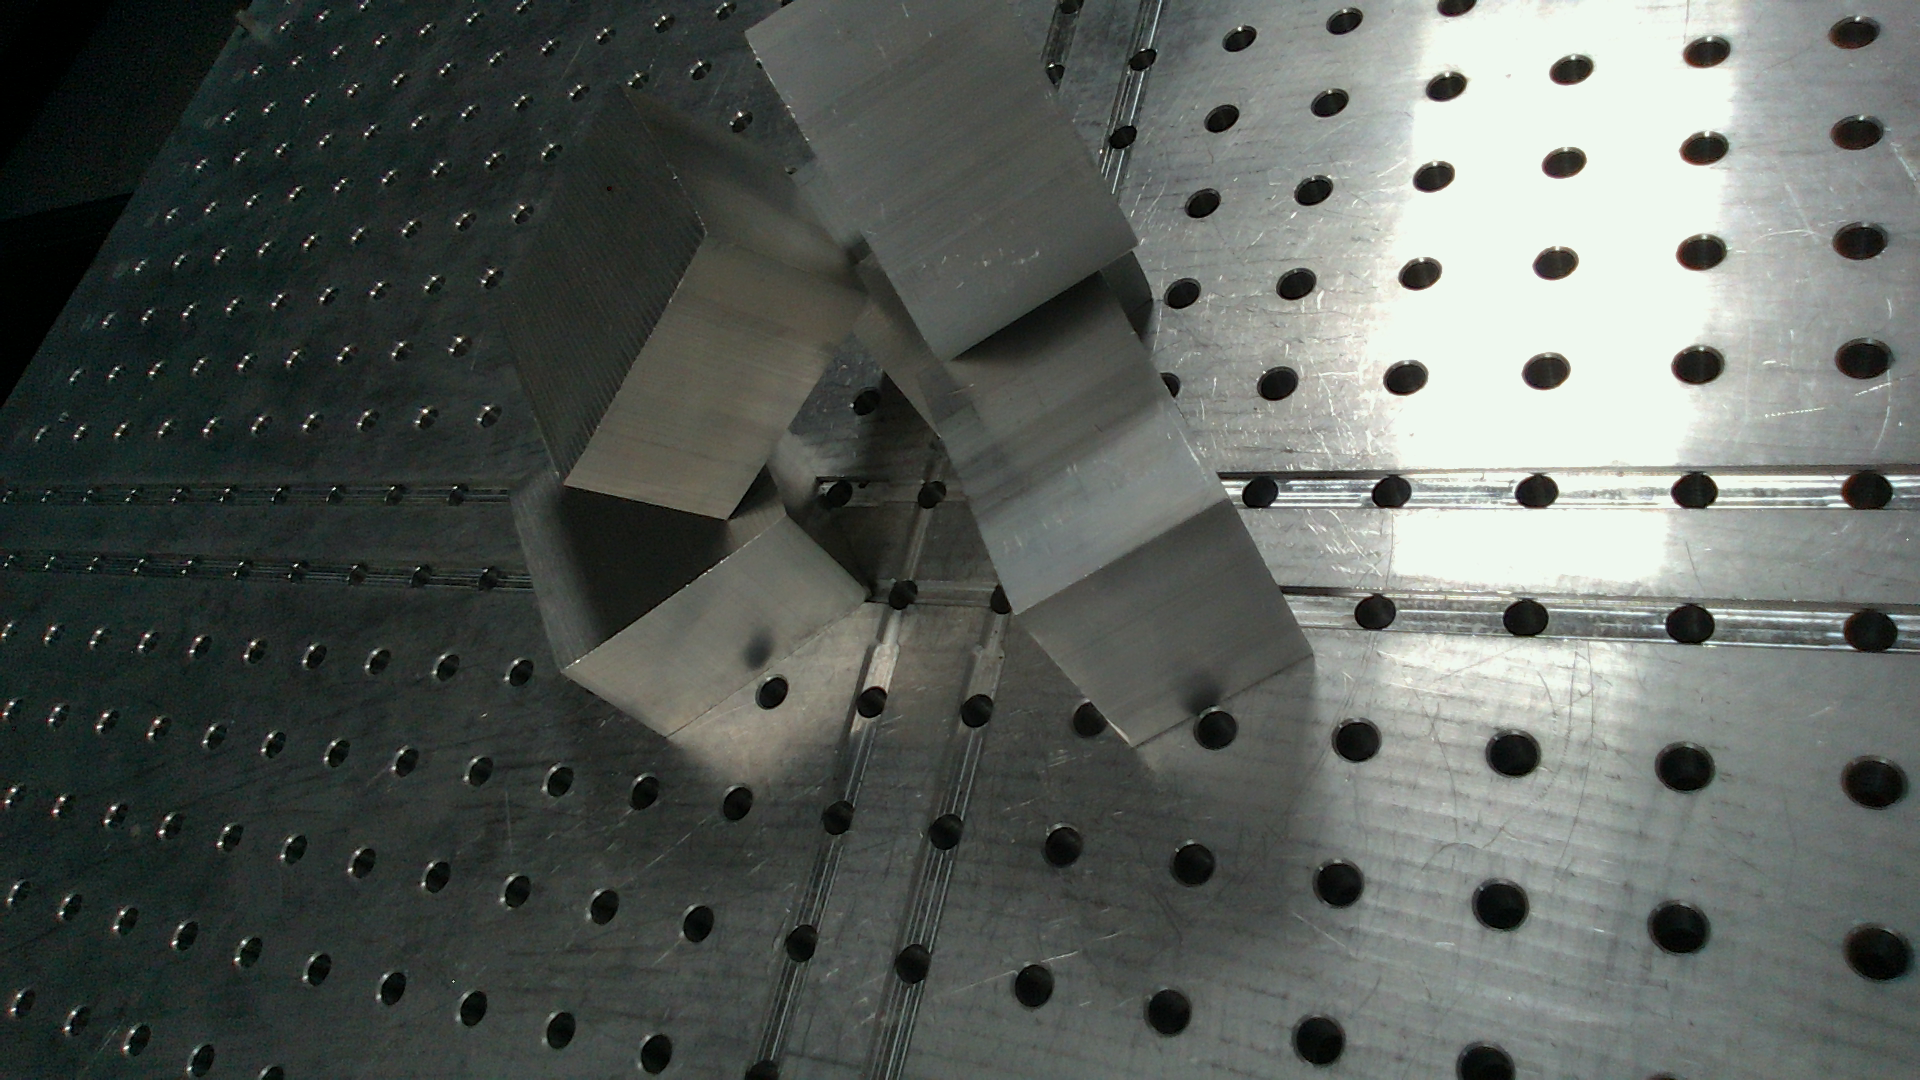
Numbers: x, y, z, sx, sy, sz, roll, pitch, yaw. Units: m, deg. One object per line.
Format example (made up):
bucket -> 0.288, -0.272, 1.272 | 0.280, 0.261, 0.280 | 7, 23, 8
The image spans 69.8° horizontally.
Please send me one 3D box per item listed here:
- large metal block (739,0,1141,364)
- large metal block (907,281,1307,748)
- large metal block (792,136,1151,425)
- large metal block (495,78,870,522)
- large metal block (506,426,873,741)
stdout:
large metal block -> -0.005, -0.091, 0.328 | 0.050, 0.080, 0.080 | -31, 9, 3
large metal block -> 0.037, -0.007, 0.344 | 0.050, 0.080, 0.080 | -30, 52, 9
large metal block -> 0.000, -0.089, 0.414 | 0.080, 0.080, 0.050 | -36, 51, 4
large metal block -> -0.080, -0.065, 0.379 | 0.080, 0.050, 0.080 | -54, 46, 23
large metal block -> -0.085, 0.001, 0.426 | 0.080, 0.050, 0.080 | -34, 51, 6
